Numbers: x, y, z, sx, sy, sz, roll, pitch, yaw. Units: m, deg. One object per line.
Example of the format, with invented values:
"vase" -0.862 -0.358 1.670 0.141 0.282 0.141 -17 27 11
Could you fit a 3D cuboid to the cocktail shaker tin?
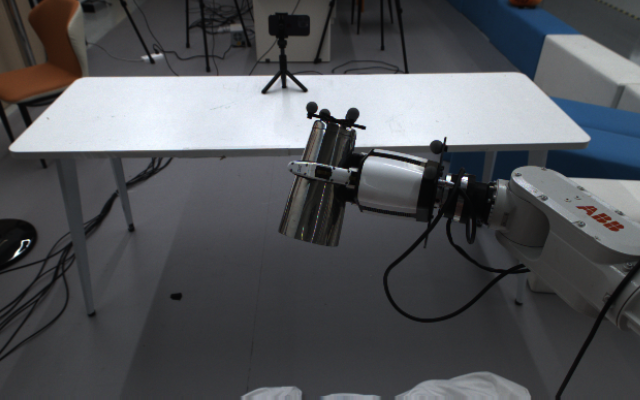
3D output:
"cocktail shaker tin" 0.002 -0.026 0.713 0.093 0.170 0.093 14 2 0
